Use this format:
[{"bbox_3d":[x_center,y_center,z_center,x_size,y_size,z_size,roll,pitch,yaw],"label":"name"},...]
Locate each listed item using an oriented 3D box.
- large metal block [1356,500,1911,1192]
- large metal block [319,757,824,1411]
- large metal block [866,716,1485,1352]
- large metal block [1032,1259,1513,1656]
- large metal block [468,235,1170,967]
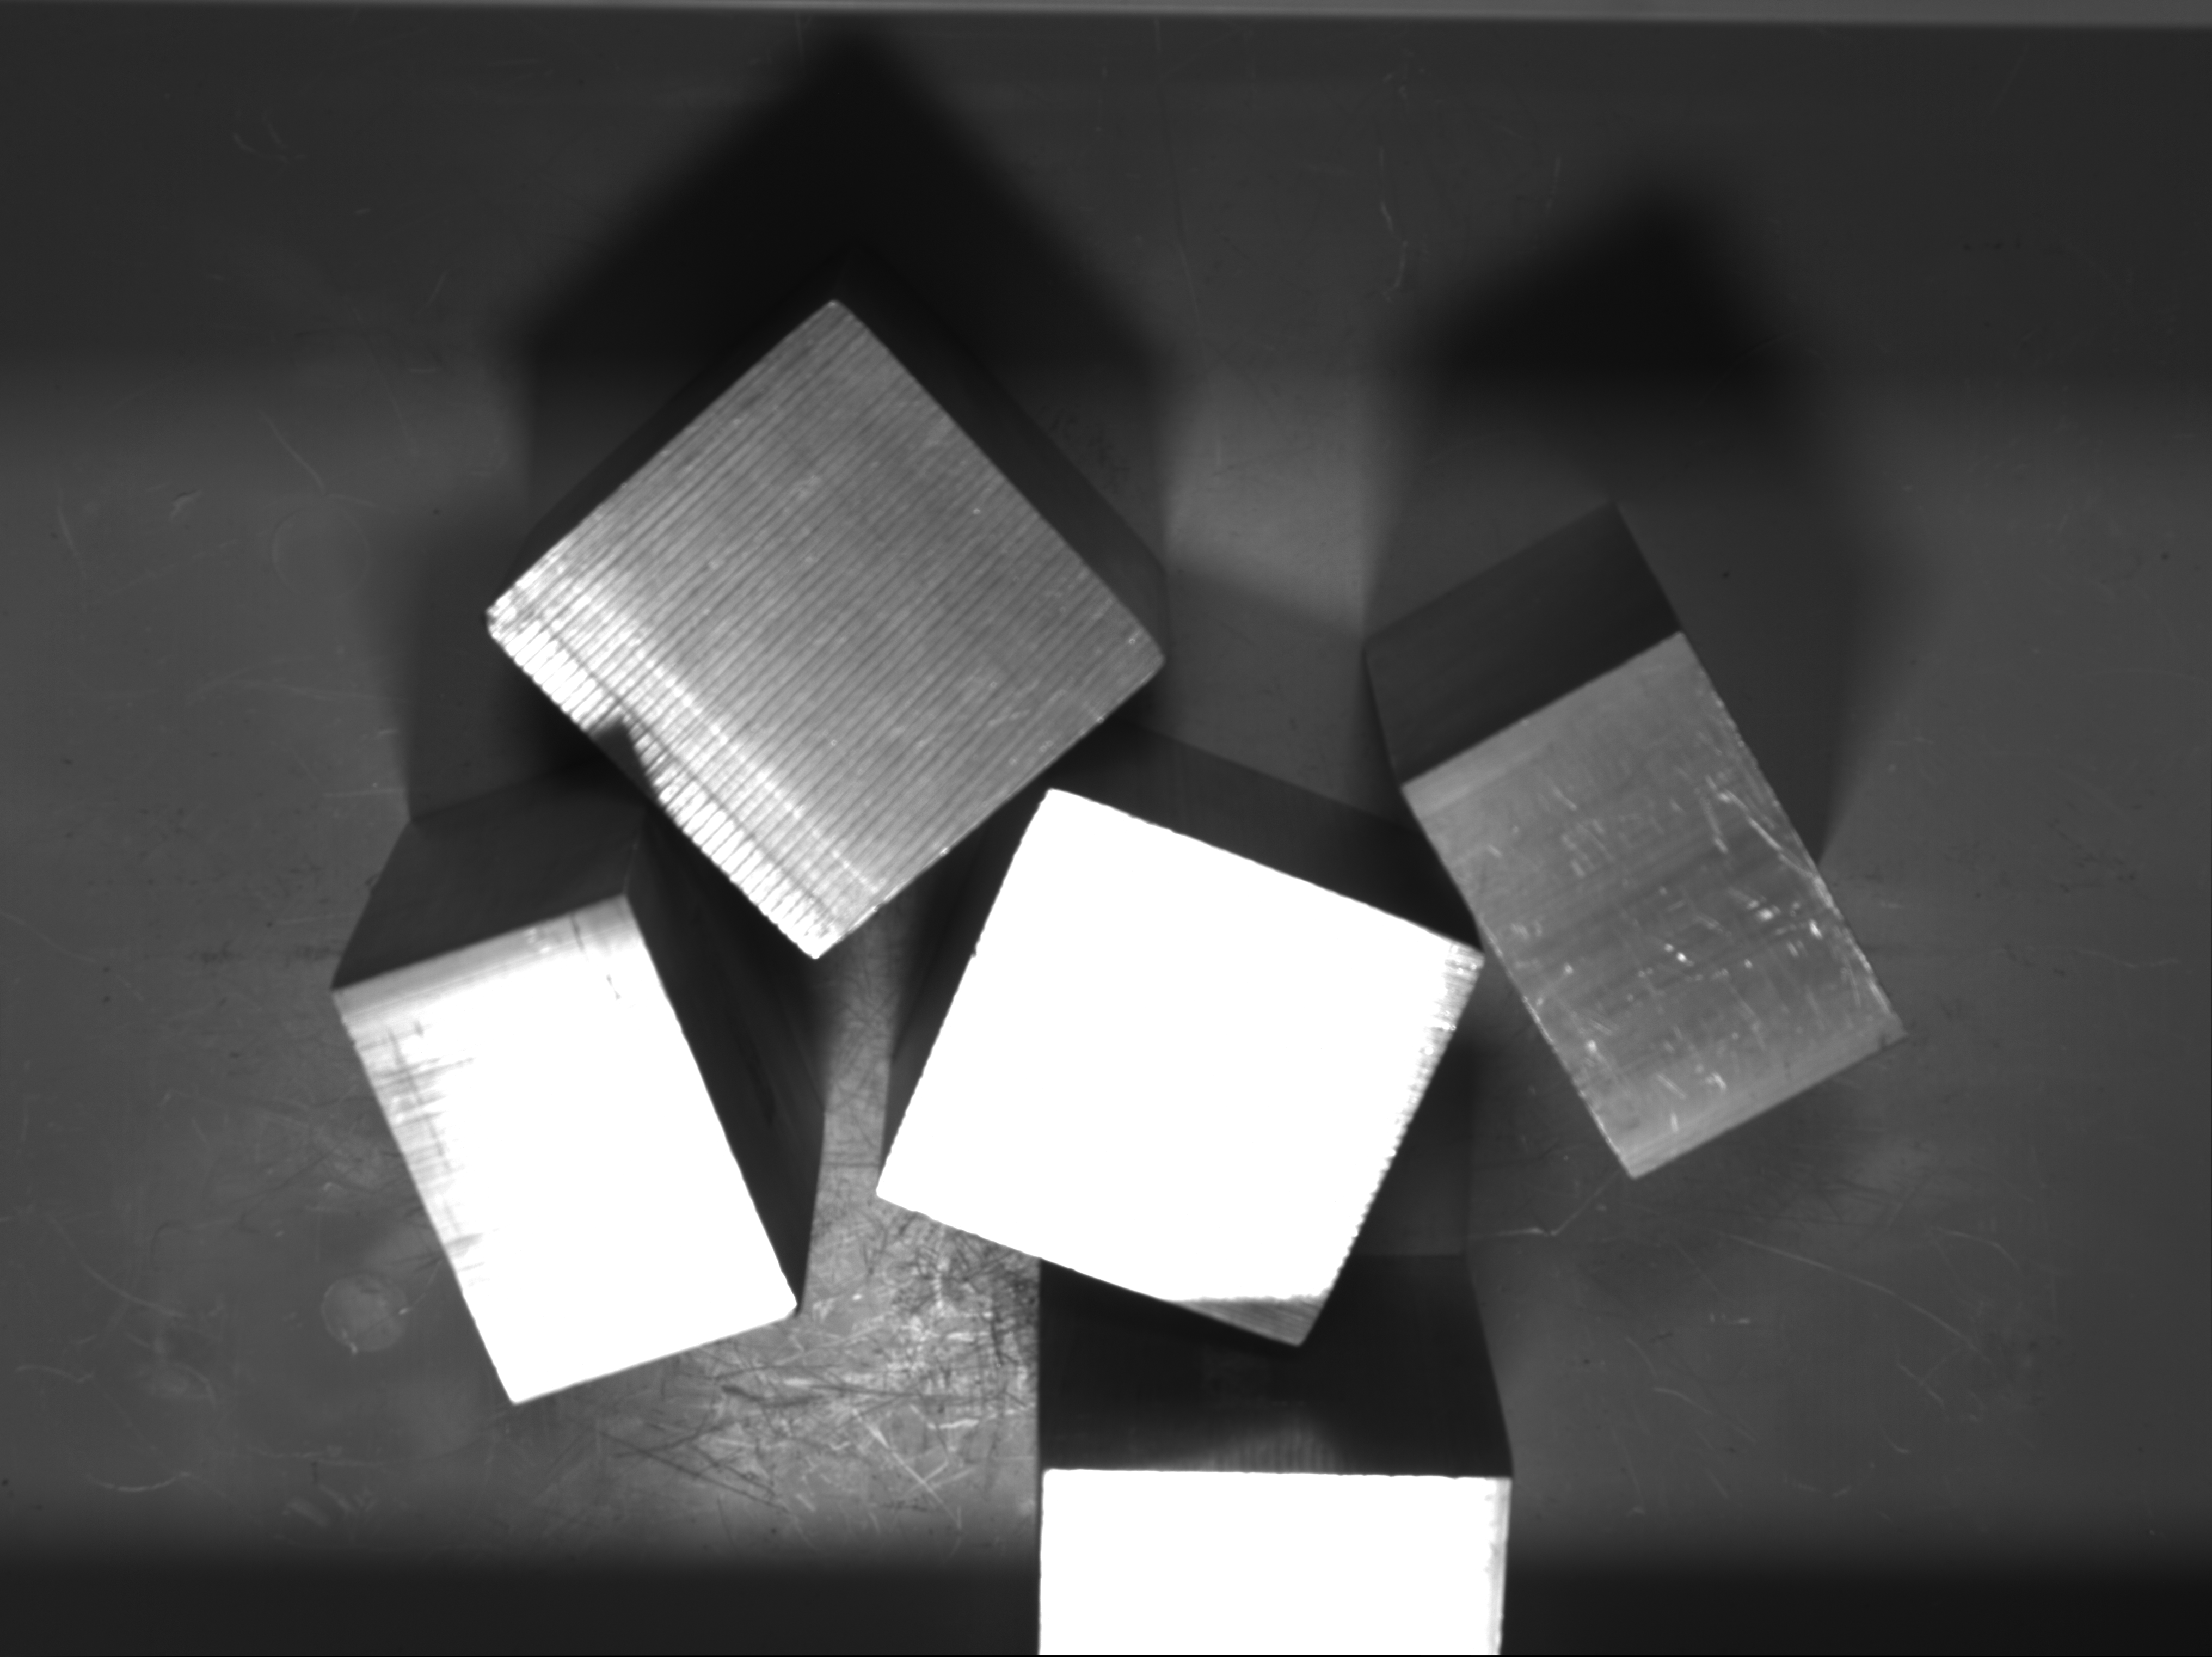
[{"bbox_3d":[0.086,0.001,0.614,0.050,0.080,0.080,-29,108,10],"label":"large metal block"},{"bbox_3d":[-0.088,0.039,0.626,0.050,0.080,0.080,-18,109,6],"label":"large metal block"},{"bbox_3d":[0.011,0.033,0.641,0.080,0.050,0.080,21,108,-8],"label":"large metal block"},{"bbox_3d":[0.027,0.117,0.656,0.080,0.080,0.050,1,110,-1],"label":"large metal block"},{"bbox_3d":[-0.046,-0.039,0.614,0.080,0.050,0.080,-40,105,13],"label":"large metal block"}]
